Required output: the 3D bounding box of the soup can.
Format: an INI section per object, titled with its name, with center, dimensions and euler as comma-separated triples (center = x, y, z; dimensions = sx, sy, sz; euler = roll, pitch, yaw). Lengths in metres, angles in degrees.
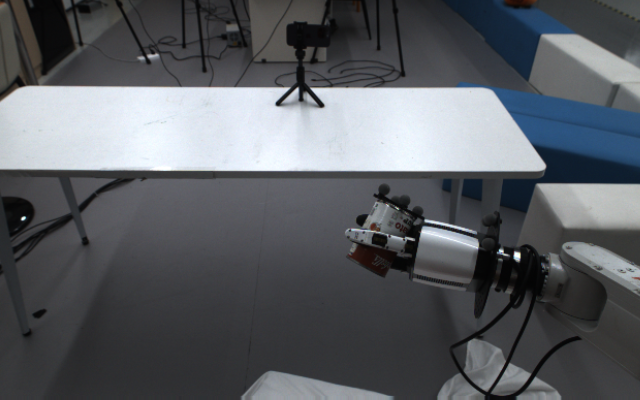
[soup can]
center = 0.093, 0.058, 0.736
dimensions = 0.067, 0.101, 0.067
euler = 28, -3, 1
